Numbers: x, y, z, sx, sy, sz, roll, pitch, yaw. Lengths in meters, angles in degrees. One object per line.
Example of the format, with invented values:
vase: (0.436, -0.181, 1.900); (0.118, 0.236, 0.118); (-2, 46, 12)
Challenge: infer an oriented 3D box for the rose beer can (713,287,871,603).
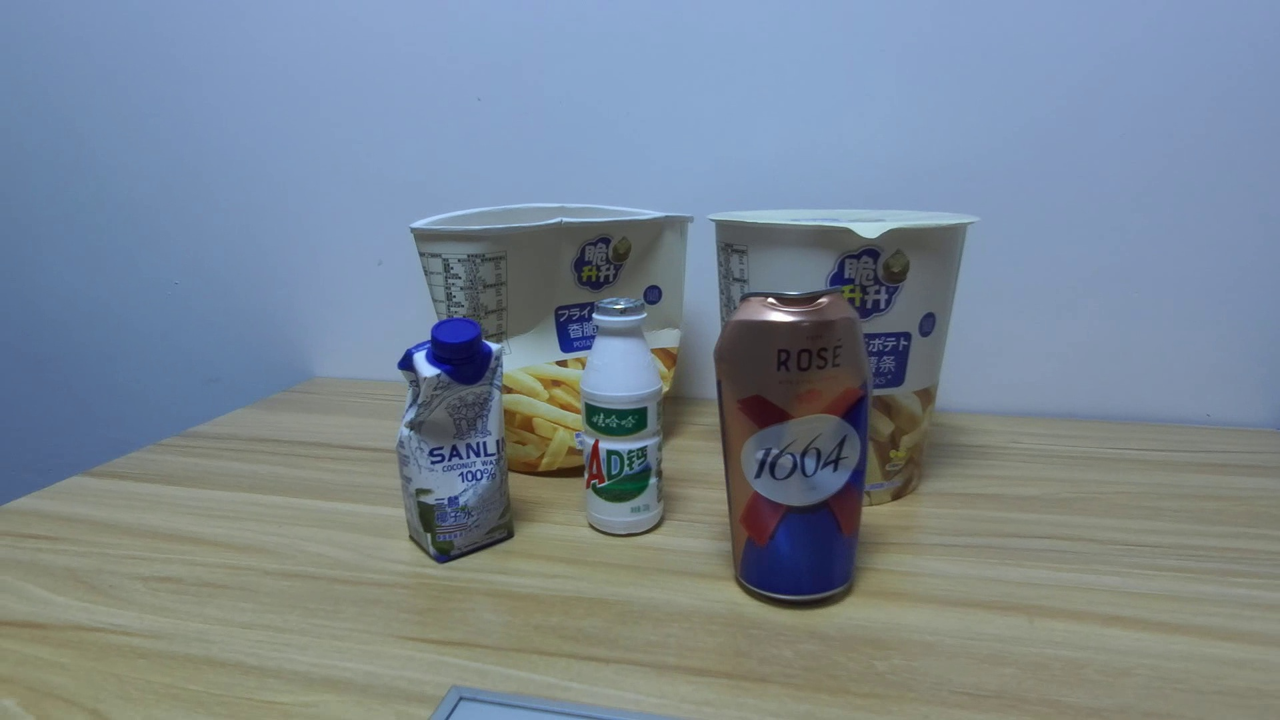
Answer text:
rose beer can: (0.084, 0.045, 0.381); (0.069, 0.168, 0.069); (3, 13, 28)

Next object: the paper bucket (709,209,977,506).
paper bucket: (0.142, -0.010, 0.531); (0.198, 0.194, 0.198); (-1, 15, 0)

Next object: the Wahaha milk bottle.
Wahaha milk bottle: (-0.011, 0.036, 0.451); (0.053, 0.147, 0.053); (0, 15, 0)

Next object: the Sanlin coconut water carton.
Sanlin coconut water carton: (-0.117, 0.045, 0.433); (0.061, 0.143, 0.069); (-13, 19, -38)

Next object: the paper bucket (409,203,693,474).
paper bucket: (-0.055, -0.023, 0.580); (0.147, 0.199, 0.218); (8, 17, 27)
